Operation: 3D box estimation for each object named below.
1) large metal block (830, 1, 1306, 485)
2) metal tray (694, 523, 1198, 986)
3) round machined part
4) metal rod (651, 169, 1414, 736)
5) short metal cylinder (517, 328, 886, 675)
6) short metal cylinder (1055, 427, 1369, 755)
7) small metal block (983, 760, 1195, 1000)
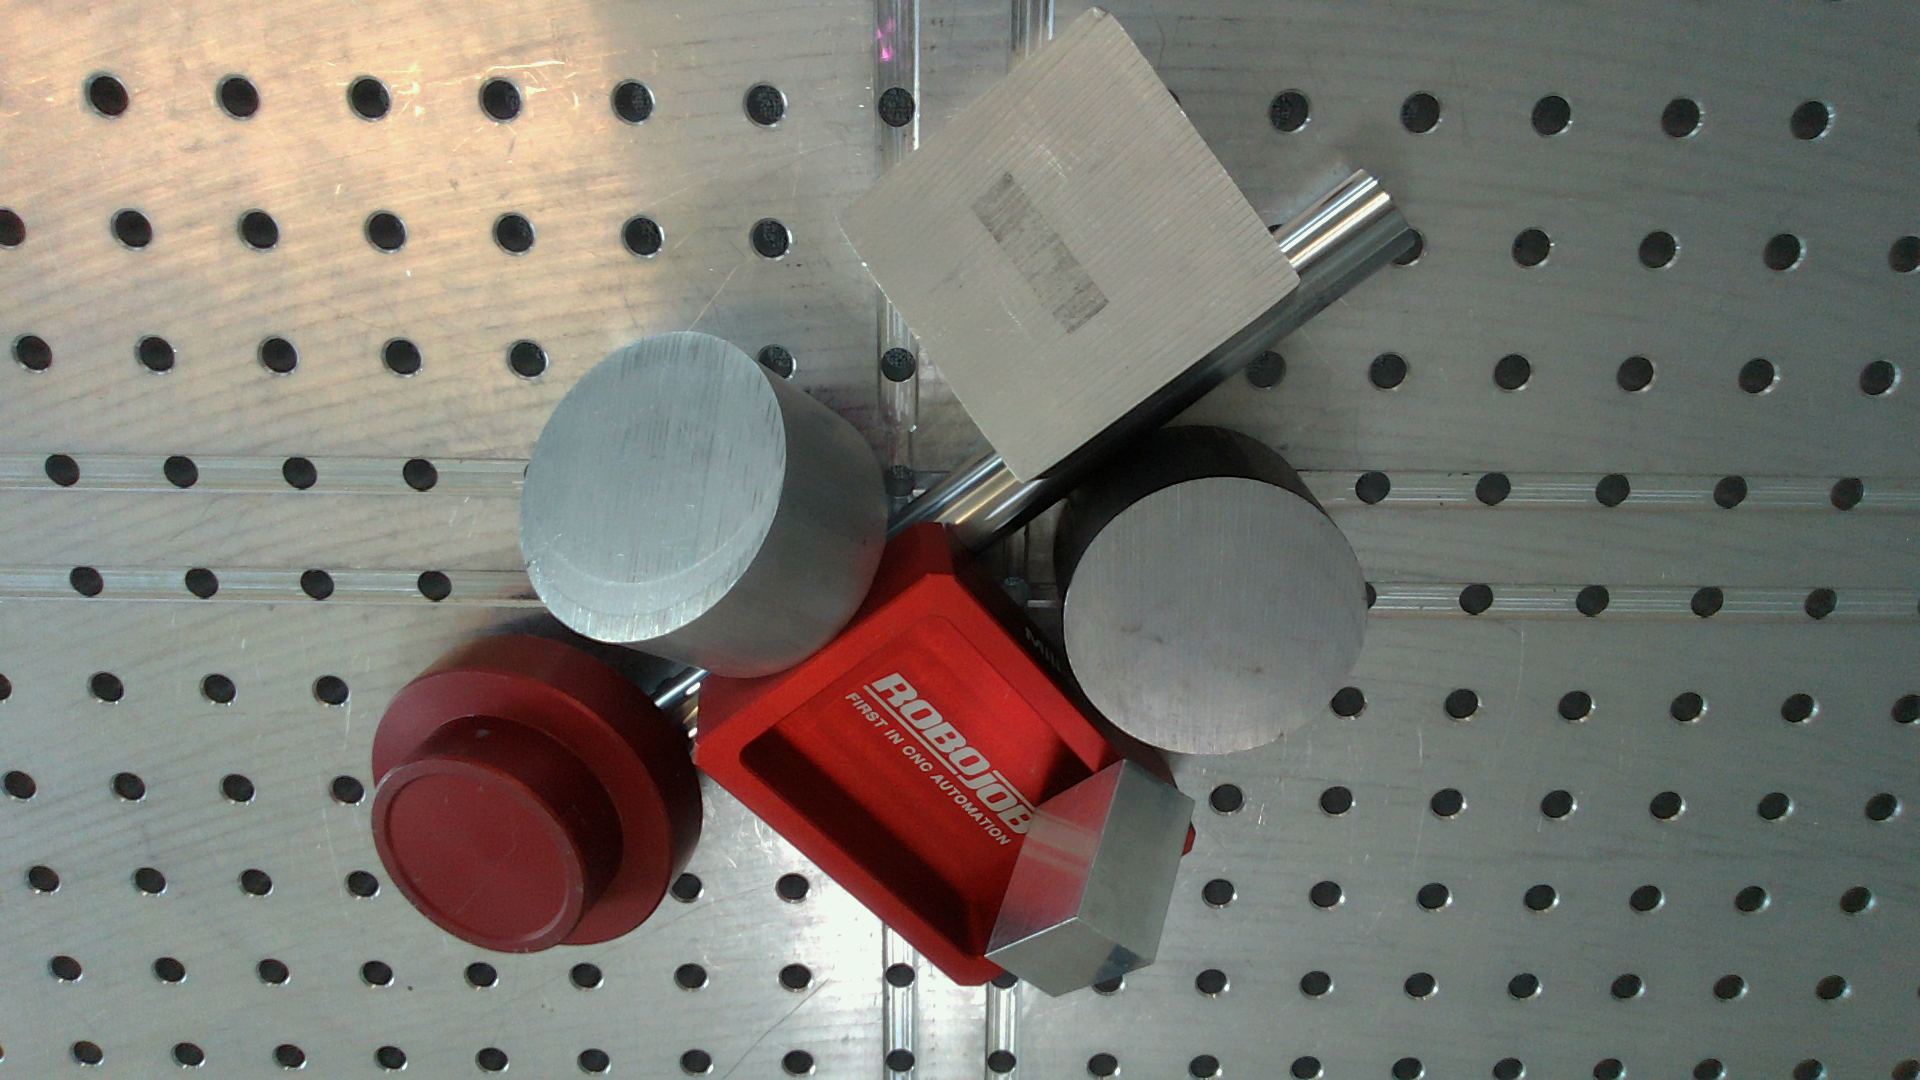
[{"bbox_3d":[0.029,-0.070,0.345,0.080,0.050,0.080,-35,87,12],"label":"large metal block"},{"bbox_3d":[-0.002,0.068,0.403,0.090,0.030,0.130,-36,119,12],"label":"metal tray"},{"bbox_3d":[-0.130,0.080,0.402,0.098,0.042,0.098,7,117,14],"label":"round machined part"},{"bbox_3d":[-0.006,-0.002,0.397,0.300,0.025,0.025,-36,106,13],"label":"metal rod"},{"bbox_3d":[-0.066,-0.008,0.358,0.080,0.050,0.080,-8,72,24],"label":"short metal cylinder"},{"bbox_3d":[0.068,0.013,0.387,0.080,0.050,0.080,0,110,0],"label":"short metal cylinder"},{"bbox_3d":[0.036,0.096,0.388,0.025,0.050,0.050,32,142,-13],"label":"small metal block"}]
